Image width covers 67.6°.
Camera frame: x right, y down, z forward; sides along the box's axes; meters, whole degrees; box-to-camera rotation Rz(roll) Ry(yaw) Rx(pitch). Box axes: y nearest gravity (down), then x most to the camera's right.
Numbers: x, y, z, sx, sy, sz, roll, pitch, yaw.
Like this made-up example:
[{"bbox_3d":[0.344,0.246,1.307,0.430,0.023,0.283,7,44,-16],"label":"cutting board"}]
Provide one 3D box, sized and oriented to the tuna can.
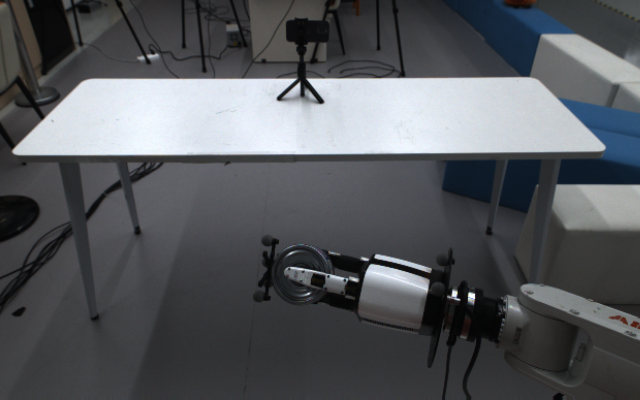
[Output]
[{"bbox_3d":[-0.021,0.107,0.677,0.085,0.085,0.034,9,-6,10],"label":"tuna can"}]
